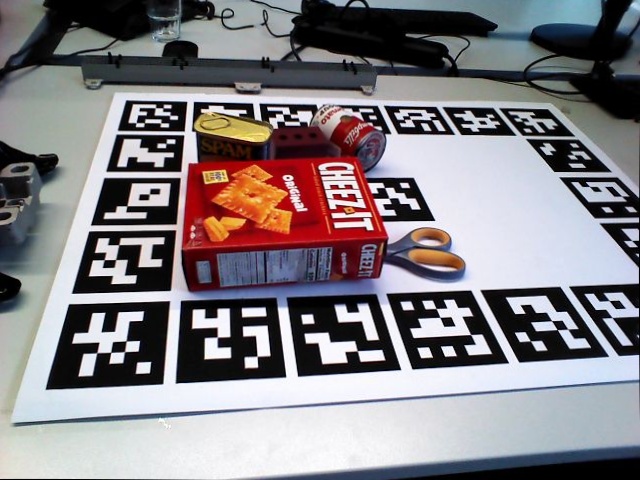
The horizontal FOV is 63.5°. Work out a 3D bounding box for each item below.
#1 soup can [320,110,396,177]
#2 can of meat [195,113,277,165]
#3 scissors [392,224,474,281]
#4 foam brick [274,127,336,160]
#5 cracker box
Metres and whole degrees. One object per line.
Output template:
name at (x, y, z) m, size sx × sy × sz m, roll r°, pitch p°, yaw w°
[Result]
soup can at (0.055, -0.146, 0.773) m, size 0.102 × 0.068 × 0.067 m, roll 33°, pitch 49°, yaw 32°
can of meat at (-0.111, -0.114, 0.691) m, size 0.102 × 0.084 × 0.057 m, roll 9°, pitch 43°, yaw 1°
scissors at (0.076, 0.019, 0.608) m, size 0.202 × 0.016 × 0.087 m, roll -5°, pitch 45°, yaw -12°
foam brick at (-0.023, -0.125, 0.741) m, size 0.078 × 0.051 × 0.052 m, roll -9°, pitch 46°, yaw -17°
cracker box at (-0.040, -0.025, 0.594) m, size 0.213 × 0.072 × 0.163 m, roll -8°, pitch 44°, yaw -10°
